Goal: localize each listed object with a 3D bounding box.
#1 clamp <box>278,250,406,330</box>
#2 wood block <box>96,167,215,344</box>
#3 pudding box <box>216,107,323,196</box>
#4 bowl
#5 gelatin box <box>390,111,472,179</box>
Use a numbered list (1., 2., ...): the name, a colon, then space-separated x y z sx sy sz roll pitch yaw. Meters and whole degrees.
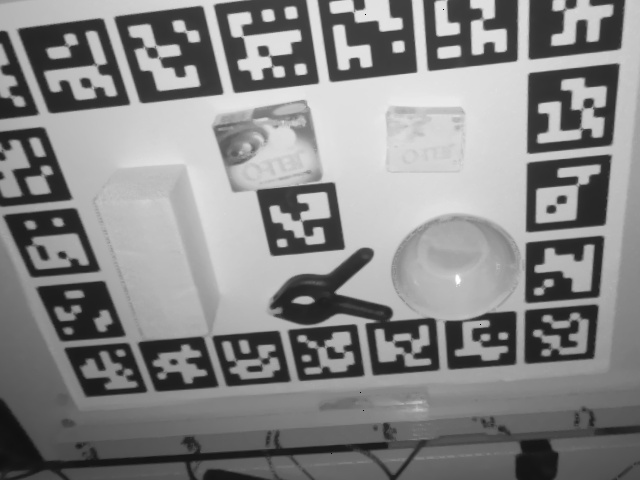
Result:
1. clamp: 0.022 0.081 0.934 0.164 0.037 0.121 -14 118 13
2. wood block: -0.201 0.021 0.870 0.090 0.092 0.205 -2 119 6
3. pudding box: -0.057 -0.105 0.823 0.114 0.039 0.089 -6 115 4
4. bowl: 0.175 0.037 0.889 0.161 0.055 0.160 1 117 4
5. gelatin box: 0.129 -0.111 0.814 0.089 0.030 0.072 2 118 2
